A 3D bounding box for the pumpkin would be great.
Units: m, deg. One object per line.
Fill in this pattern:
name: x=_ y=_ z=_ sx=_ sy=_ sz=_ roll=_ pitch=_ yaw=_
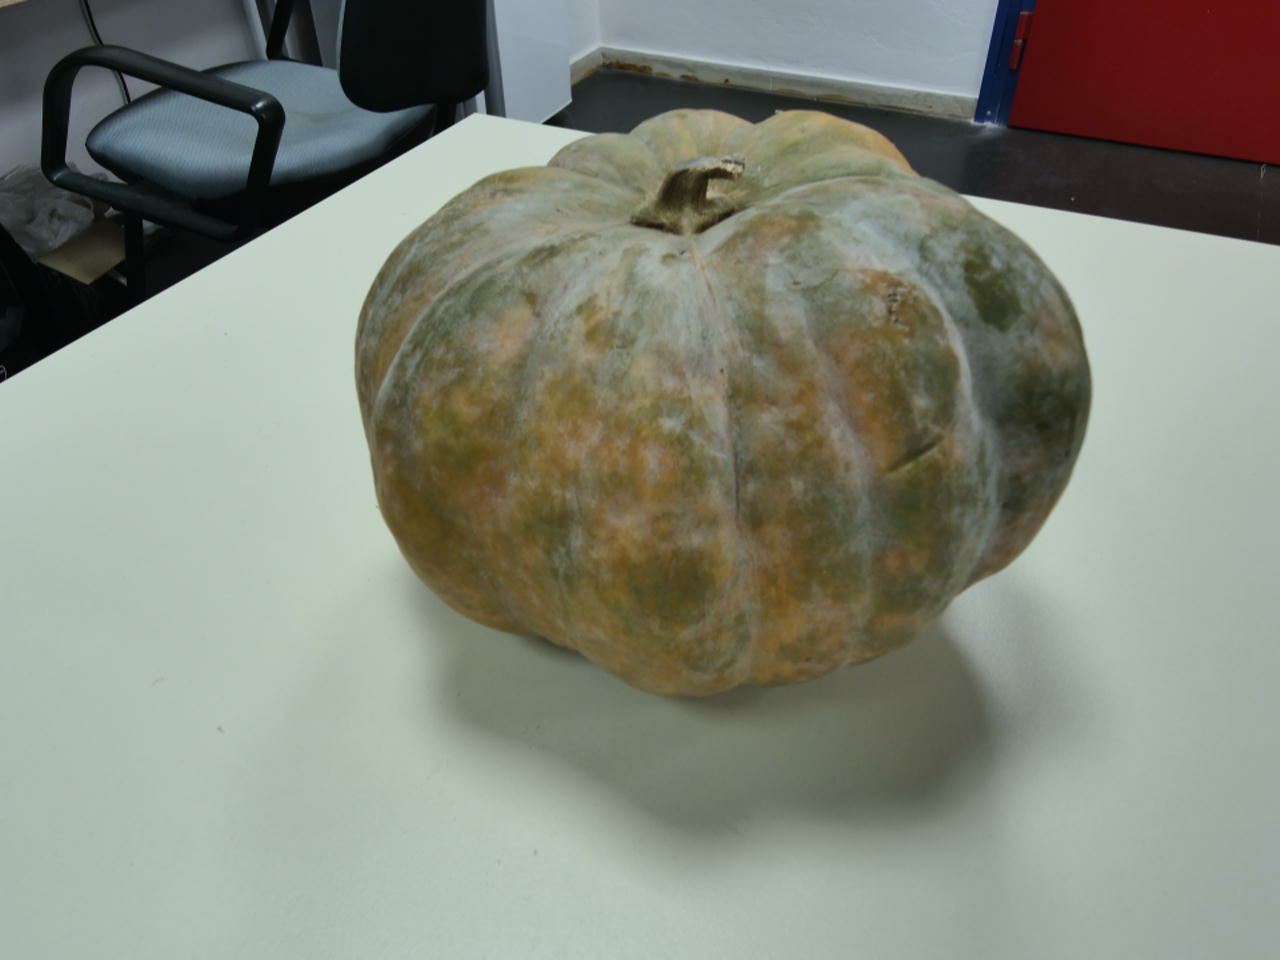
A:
pumpkin: x=0.020 y=-0.037 z=0.363 sx=0.252 sy=0.169 sz=0.251 roll=0 pitch=38 yaw=0
